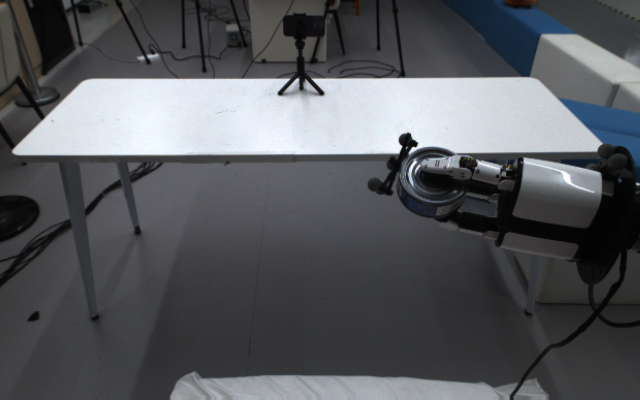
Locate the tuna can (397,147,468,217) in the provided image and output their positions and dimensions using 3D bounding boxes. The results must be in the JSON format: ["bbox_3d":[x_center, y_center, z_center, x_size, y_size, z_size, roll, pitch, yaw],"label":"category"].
[{"bbox_3d":[0.141,-0.024,0.594,0.085,0.034,0.085,-1,60,1],"label":"tuna can"}]
